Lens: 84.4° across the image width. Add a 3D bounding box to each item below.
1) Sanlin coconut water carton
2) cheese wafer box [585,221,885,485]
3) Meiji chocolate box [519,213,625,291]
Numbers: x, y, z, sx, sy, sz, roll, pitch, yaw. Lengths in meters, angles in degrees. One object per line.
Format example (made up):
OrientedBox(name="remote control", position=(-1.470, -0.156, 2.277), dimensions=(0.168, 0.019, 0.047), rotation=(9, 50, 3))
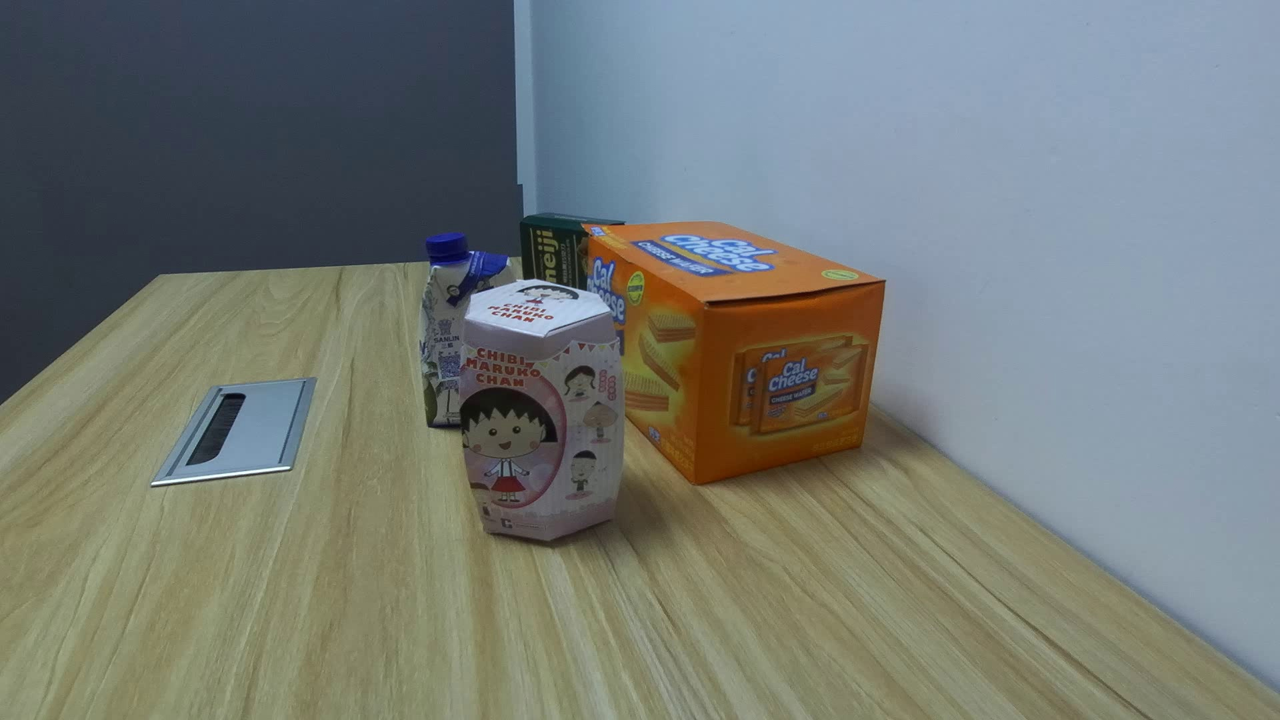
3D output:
OrientedBox(name="Sanlin coconut water carton", position=(-0.125, -0.019, 0.523), dimensions=(0.068, 0.144, 0.056), rotation=(6, 23, -5))
OrientedBox(name="cheese wafer box", position=(0.056, -0.025, 0.557), dimensions=(0.150, 0.137, 0.226), rotation=(-8, 24, -23))
OrientedBox(name="Meiji chocolate box", position=(-0.068, -0.091, 0.736), dimensions=(0.122, 0.116, 0.059), rotation=(19, 27, 36))
